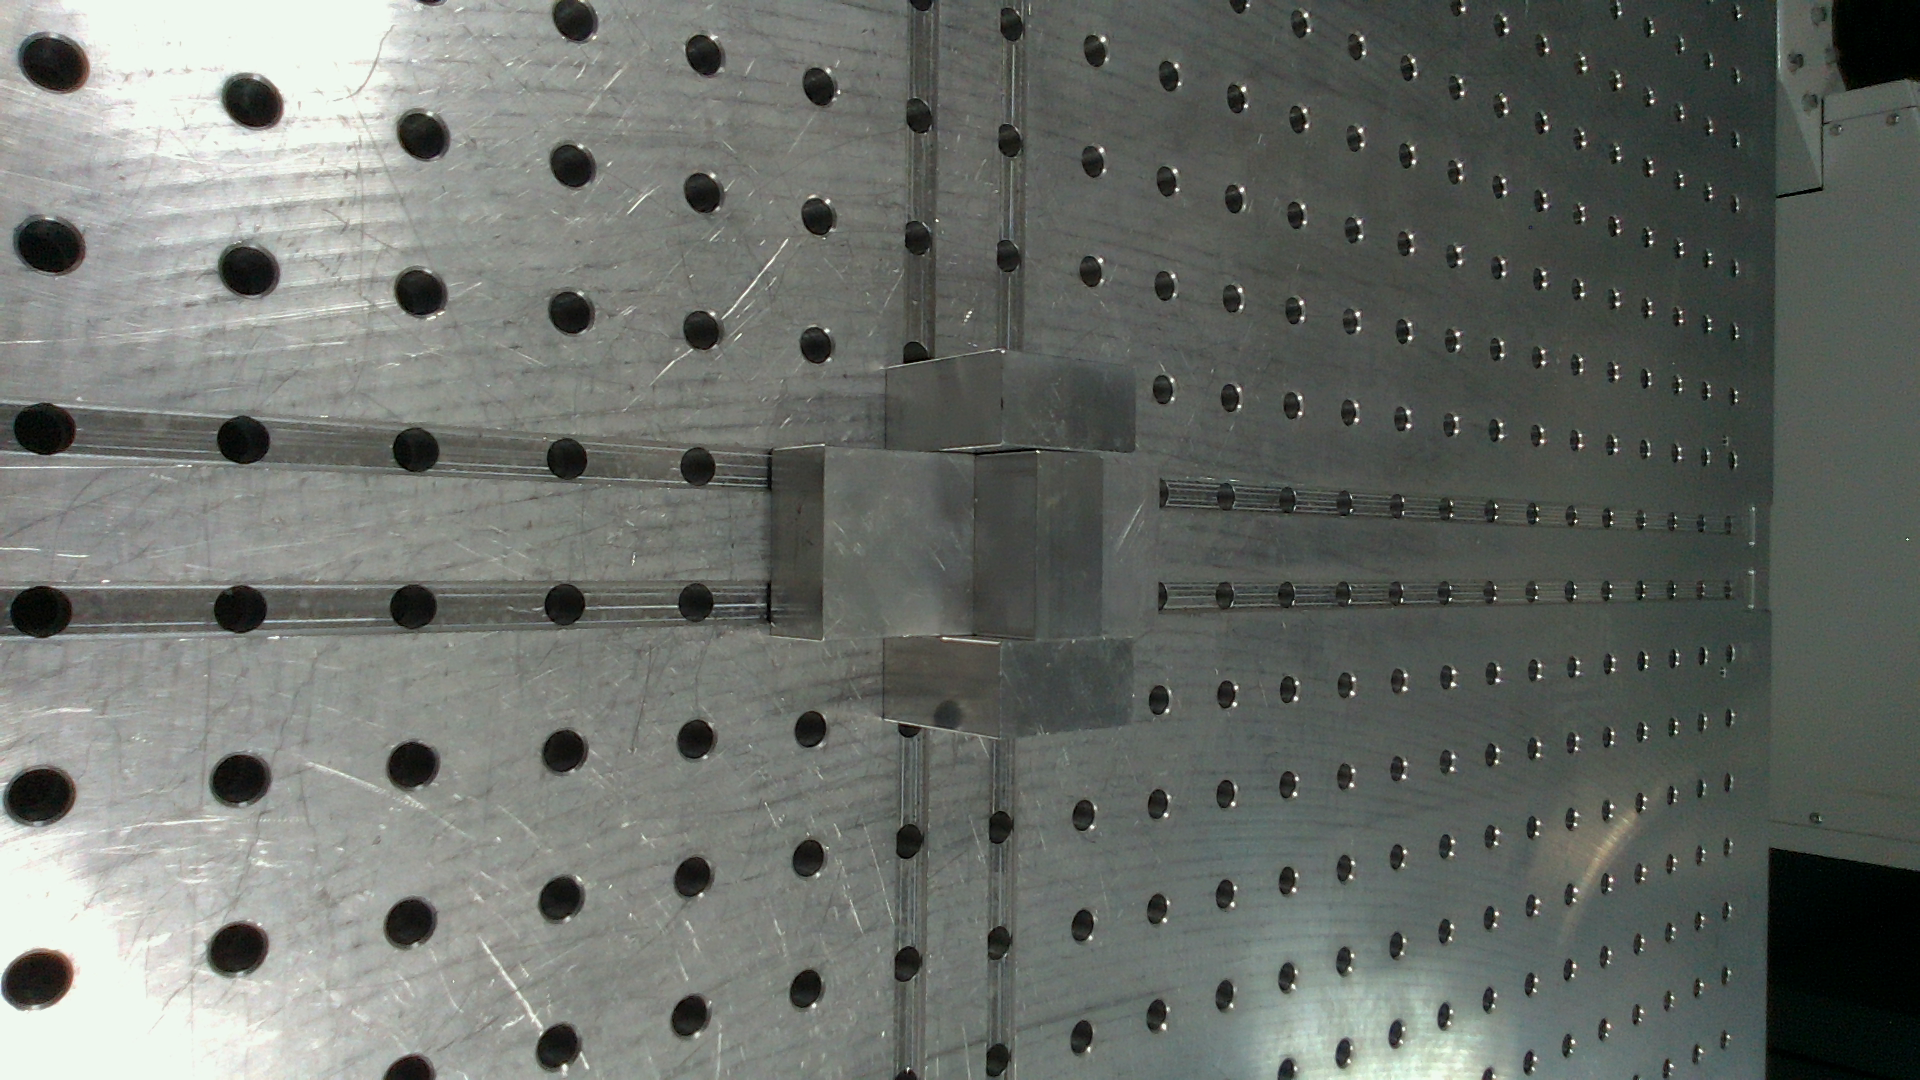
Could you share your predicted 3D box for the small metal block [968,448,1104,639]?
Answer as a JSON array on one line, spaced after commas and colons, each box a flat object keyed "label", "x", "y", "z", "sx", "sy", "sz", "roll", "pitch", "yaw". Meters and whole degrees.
[{"label": "small metal block", "x": 0.014, "y": 0.001, "z": 0.386, "sx": 0.025, "sy": 0.050, "sz": 0.050, "roll": 1, "pitch": 89, "yaw": -40}]

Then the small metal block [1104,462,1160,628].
[{"label": "small metal block", "x": 0.035, "y": 0.001, "z": 0.420, "sx": 0.050, "sy": 0.025, "sz": 0.050, "roll": 1, "pitch": 89, "yaw": -40}]

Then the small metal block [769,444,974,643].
[{"label": "small metal block", "x": -0.023, "y": 0.001, "z": 0.372, "sx": 0.050, "sy": 0.025, "sz": 0.050, "roll": 1, "pitch": 90, "yaw": -40}]

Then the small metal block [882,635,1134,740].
[{"label": "small metal block", "x": 0.013, "y": 0.039, "z": 0.386, "sx": 0.050, "sy": 0.050, "sz": 0.025, "roll": 1, "pitch": 89, "yaw": -40}]

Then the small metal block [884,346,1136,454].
[{"label": "small metal block", "x": 0.014, "y": -0.037, "z": 0.387, "sx": 0.050, "sy": 0.050, "sz": 0.025, "roll": 1, "pitch": 89, "yaw": -40}]
